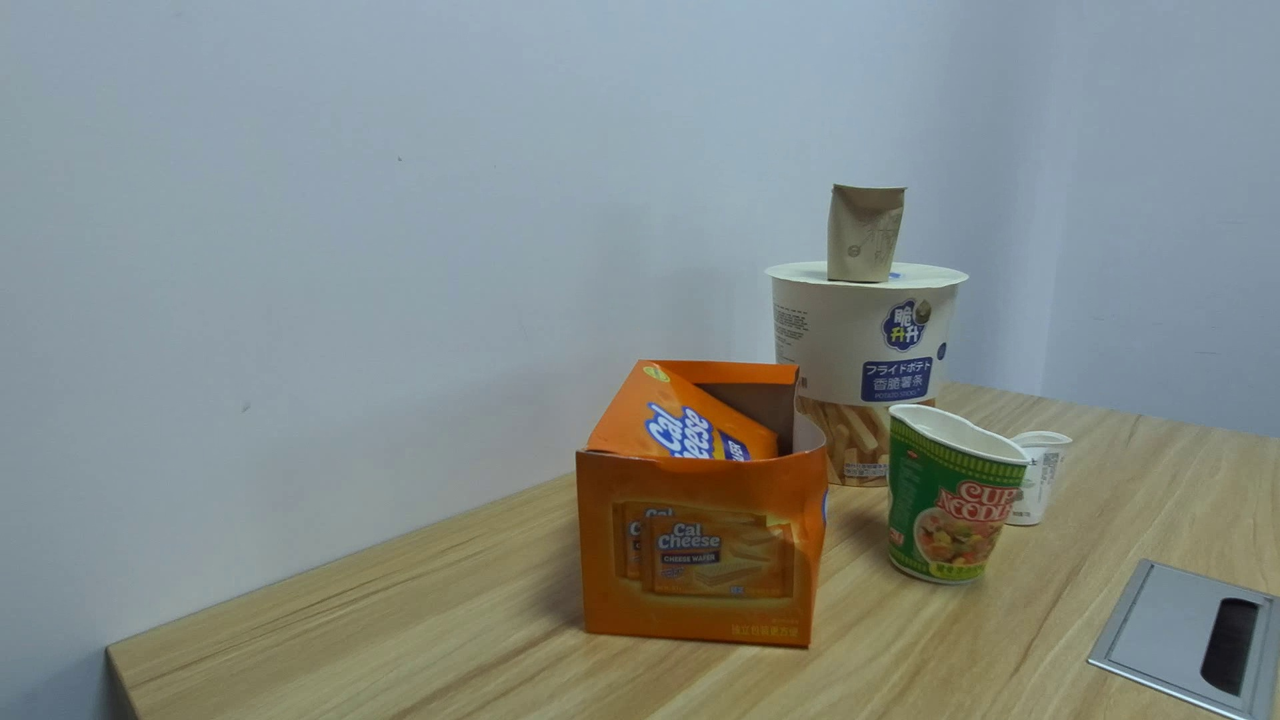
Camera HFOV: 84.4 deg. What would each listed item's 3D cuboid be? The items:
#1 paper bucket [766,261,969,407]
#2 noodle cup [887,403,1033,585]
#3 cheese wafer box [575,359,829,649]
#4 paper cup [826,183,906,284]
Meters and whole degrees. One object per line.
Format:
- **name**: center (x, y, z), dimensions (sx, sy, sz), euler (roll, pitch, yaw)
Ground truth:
- **paper bucket**: center (0.214, 0.008, 0.703), dimensions (0.198, 0.194, 0.198), euler (0, 15, 0)
- **noodle cup**: center (0.222, 0.096, 0.516), dimensions (0.070, 0.111, 0.115), euler (-1, 16, 6)
- **cheese wafer box**: center (0.052, 0.091, 0.524), dimensions (0.152, 0.132, 0.230), euler (3, 14, 9)
- **paper cup**: center (0.200, -0.113, 0.631), dimensions (0.066, 0.084, 0.072), euler (2, 10, 12)
